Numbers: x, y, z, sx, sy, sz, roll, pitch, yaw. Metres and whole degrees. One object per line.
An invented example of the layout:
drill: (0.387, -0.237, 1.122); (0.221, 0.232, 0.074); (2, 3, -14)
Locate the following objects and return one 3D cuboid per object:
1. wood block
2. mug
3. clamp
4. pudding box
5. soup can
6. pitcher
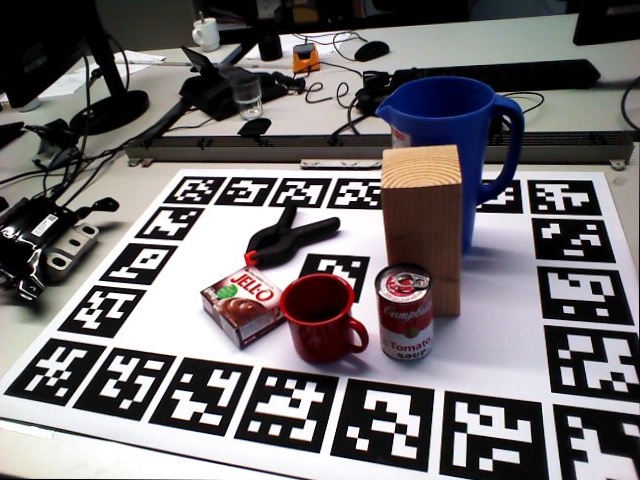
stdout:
wood block: (0.132, -0.012, 0.644); (0.090, 0.207, 0.090); (3, 39, 13)
mug: (0.008, 0.101, 0.636); (0.093, 0.081, 0.117); (-29, 39, -26)
clamp: (-0.047, -0.009, 0.845); (0.122, 0.037, 0.164); (31, 54, 33)
pudding box: (-0.111, 0.085, 0.730); (0.089, 0.039, 0.114); (-33, 41, -21)
soup can: (0.100, 0.083, 0.614); (0.068, 0.102, 0.067); (-8, 39, 6)
pitcher: (0.186, -0.098, 0.716); (0.190, 0.243, 0.132); (0, 36, 19)
